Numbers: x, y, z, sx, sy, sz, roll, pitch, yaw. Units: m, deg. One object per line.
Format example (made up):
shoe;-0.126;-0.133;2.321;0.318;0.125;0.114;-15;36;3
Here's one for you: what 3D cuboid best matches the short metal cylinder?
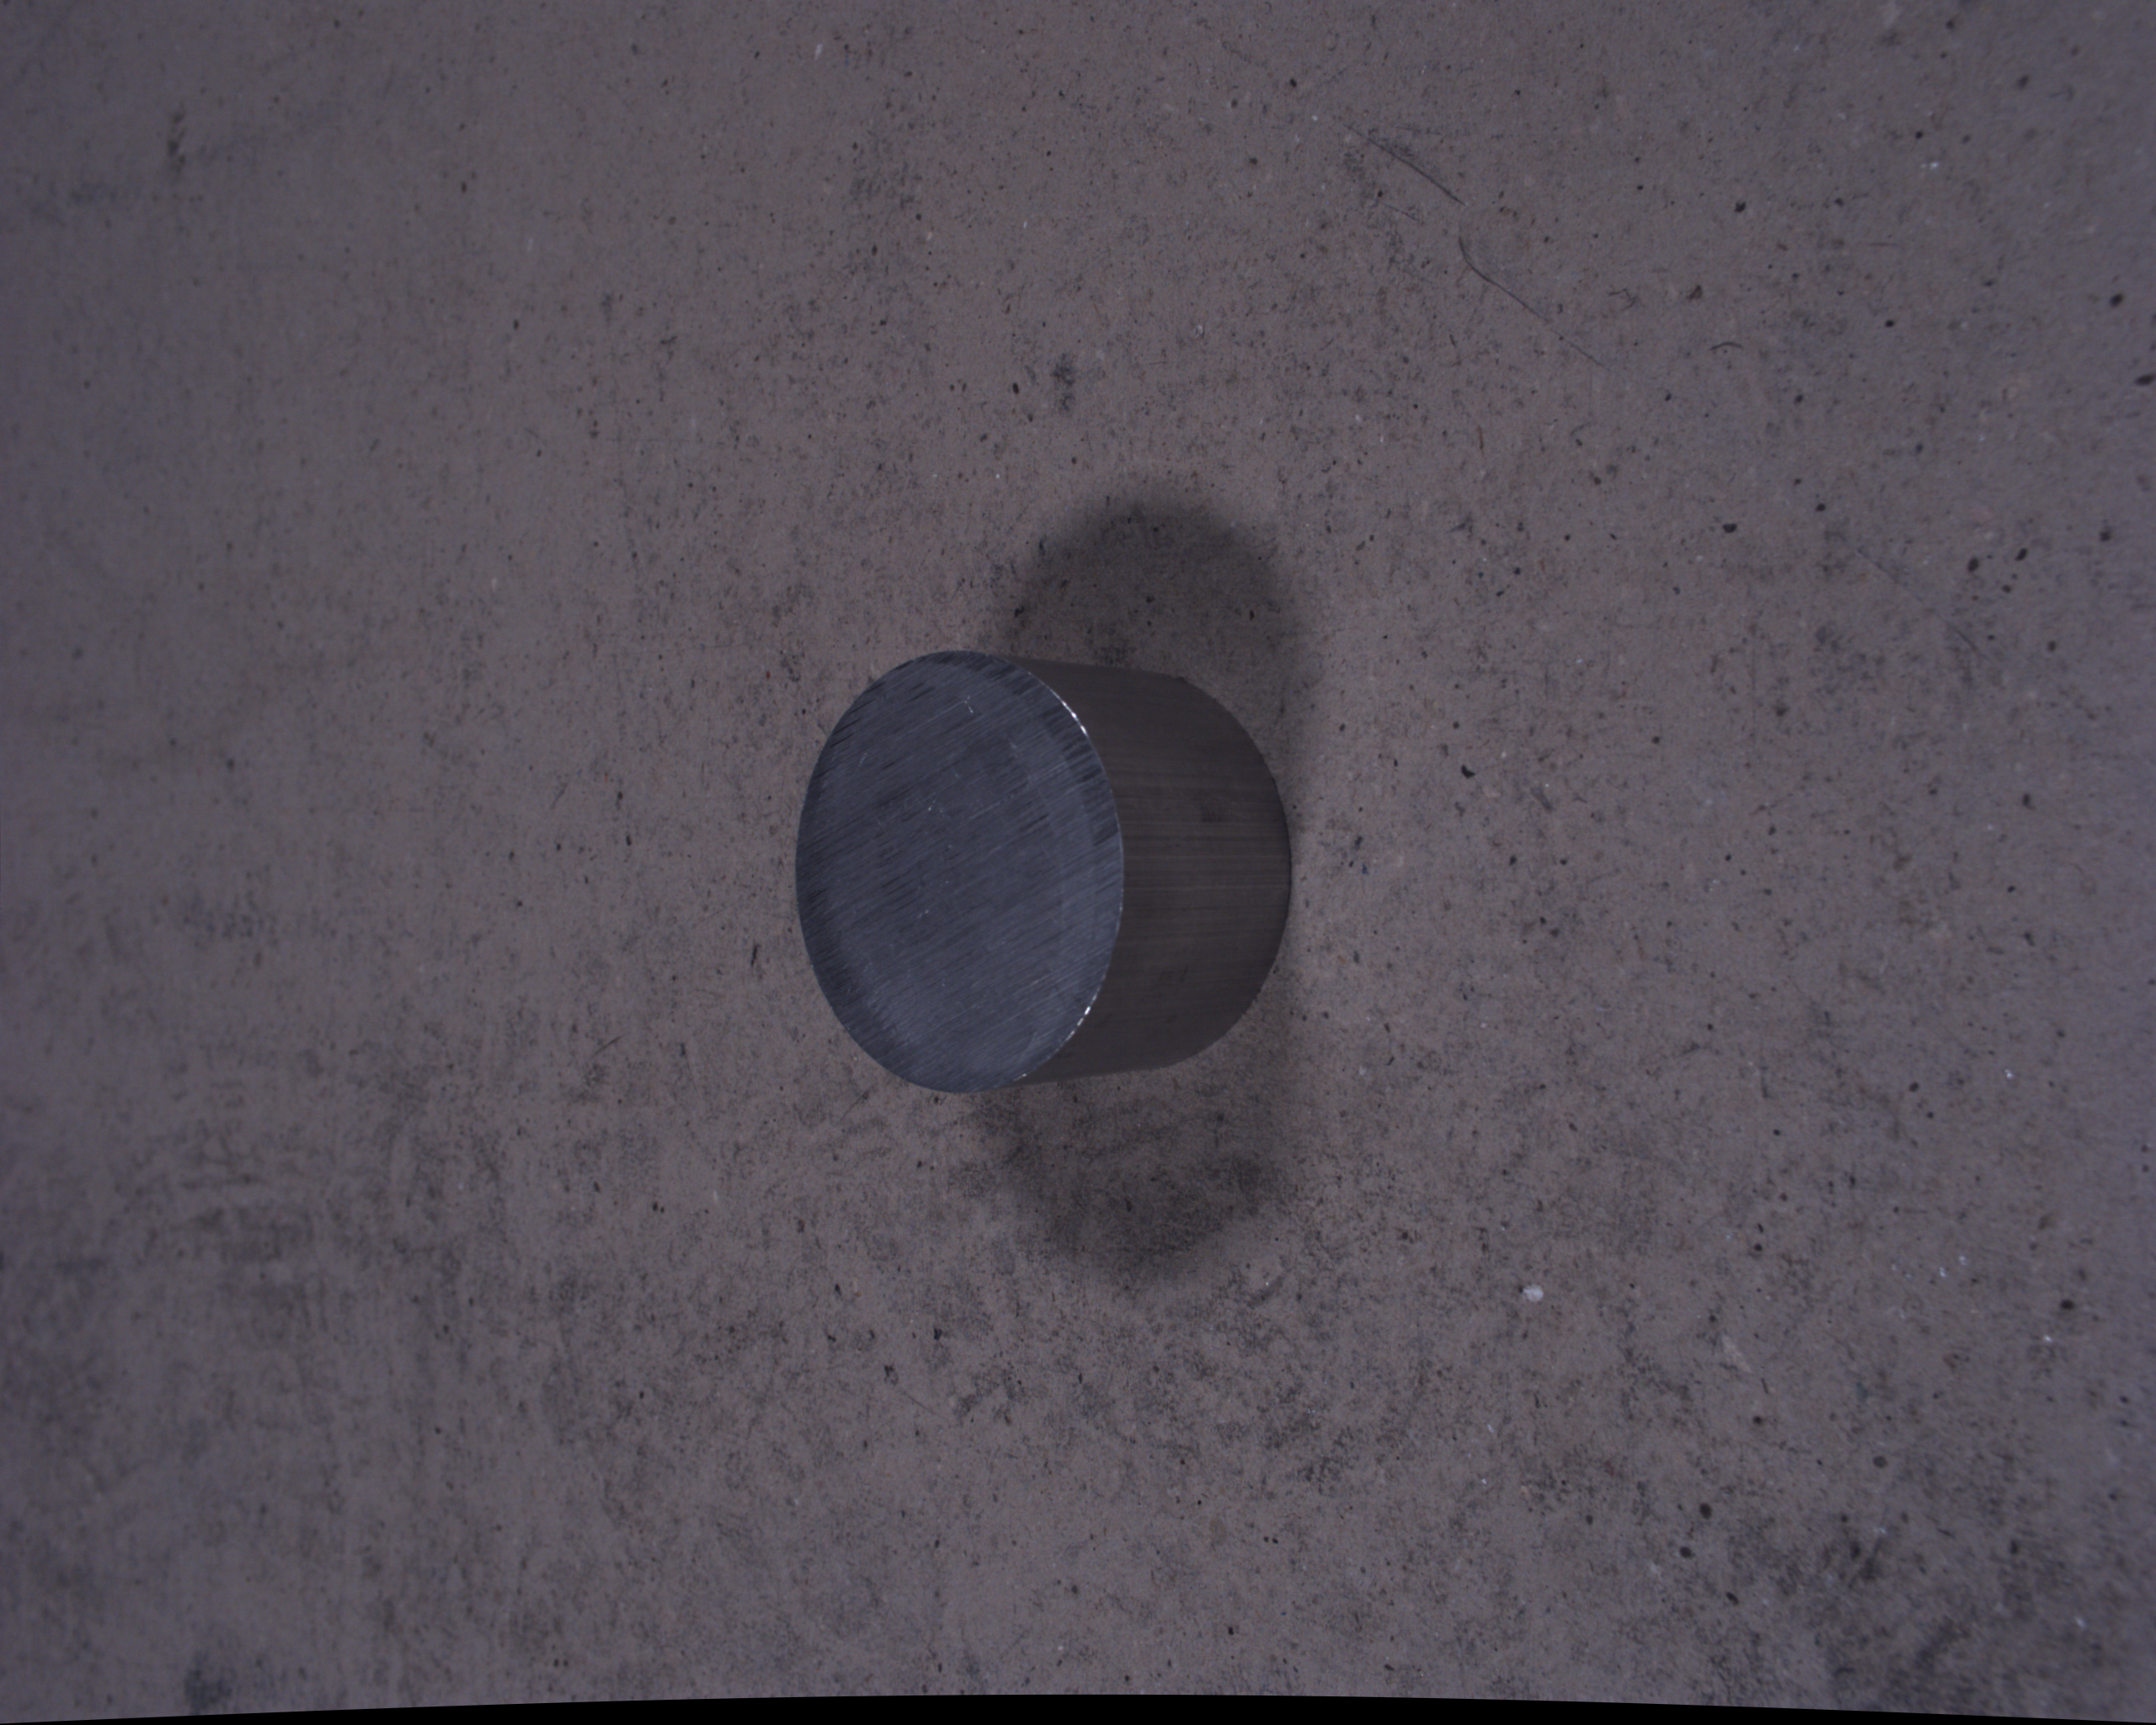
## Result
short metal cylinder;-0.007;0.001;0.394;0.080;0.050;0.079;0;90;39
